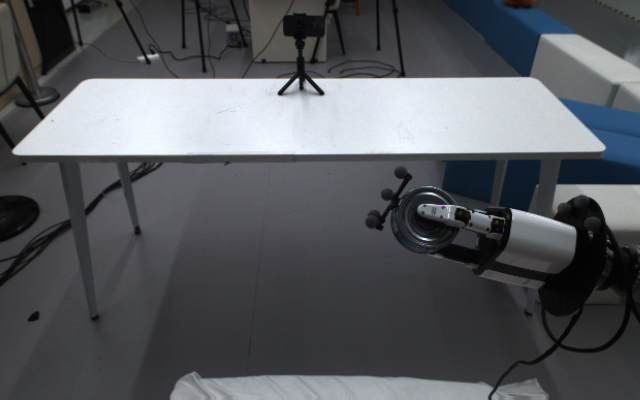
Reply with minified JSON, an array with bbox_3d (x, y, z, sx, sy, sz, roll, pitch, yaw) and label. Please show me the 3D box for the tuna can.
[{"bbox_3d":[0.140,0.024,0.631,0.085,0.034,0.085,1,75,-5],"label":"tuna can"}]
